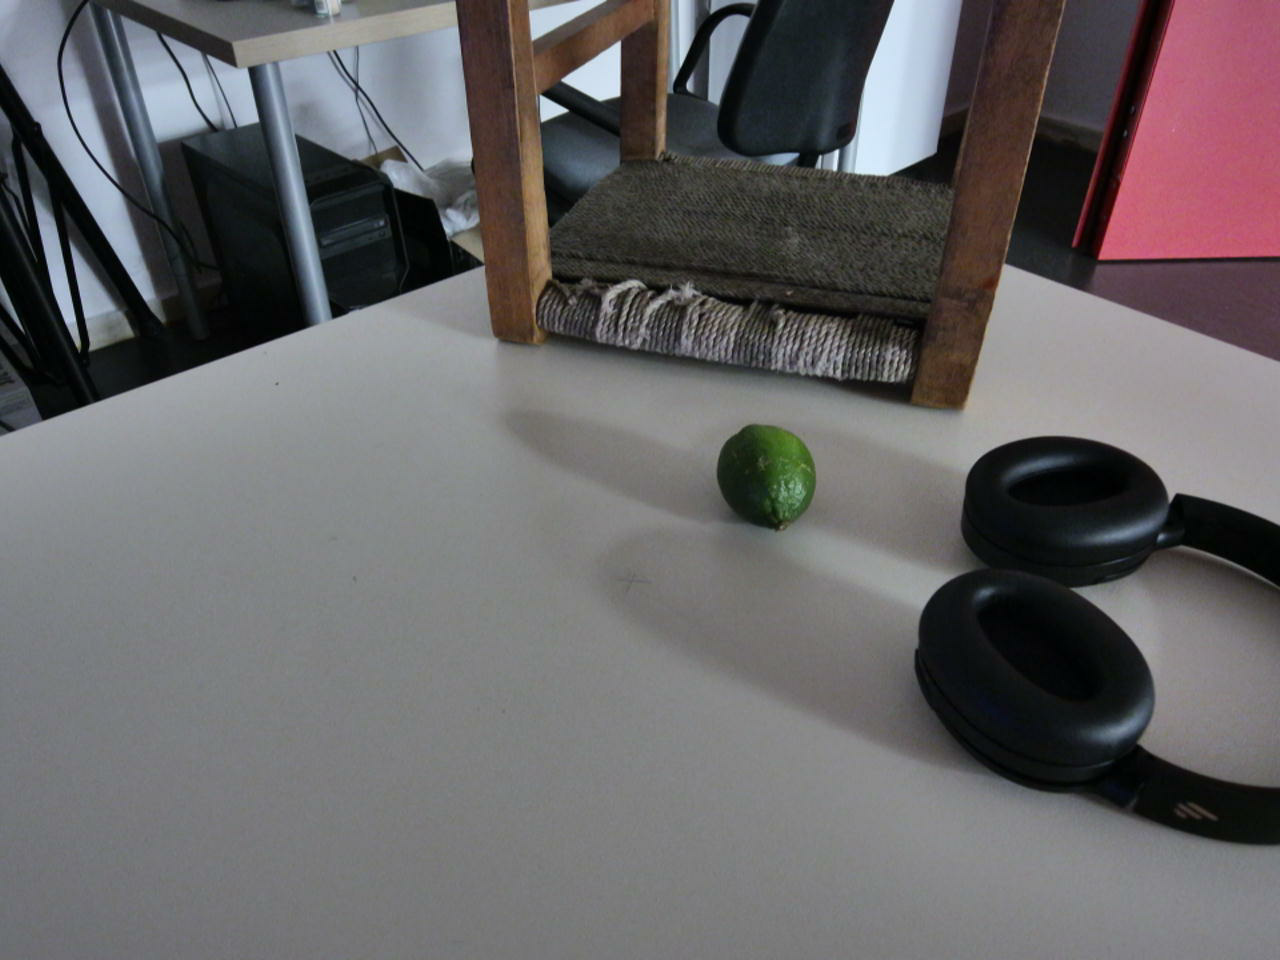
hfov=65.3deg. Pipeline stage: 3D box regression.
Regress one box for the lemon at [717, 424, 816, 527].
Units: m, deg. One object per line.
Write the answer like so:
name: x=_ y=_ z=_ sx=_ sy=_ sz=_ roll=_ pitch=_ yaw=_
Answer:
lemon: x=0.069 y=-0.003 z=0.545 sx=0.054 sy=0.051 sz=0.057 roll=-29 pitch=46 yaw=-34
